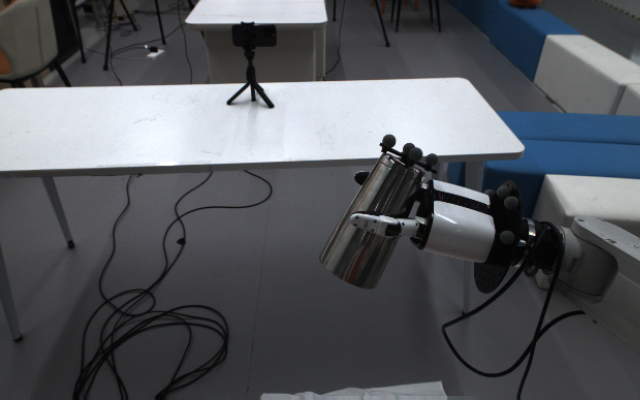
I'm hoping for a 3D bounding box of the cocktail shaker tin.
[{"bbox_3d":[0.078,0.022,0.665,0.093,0.170,0.093,24,13,-6],"label":"cocktail shaker tin"}]
